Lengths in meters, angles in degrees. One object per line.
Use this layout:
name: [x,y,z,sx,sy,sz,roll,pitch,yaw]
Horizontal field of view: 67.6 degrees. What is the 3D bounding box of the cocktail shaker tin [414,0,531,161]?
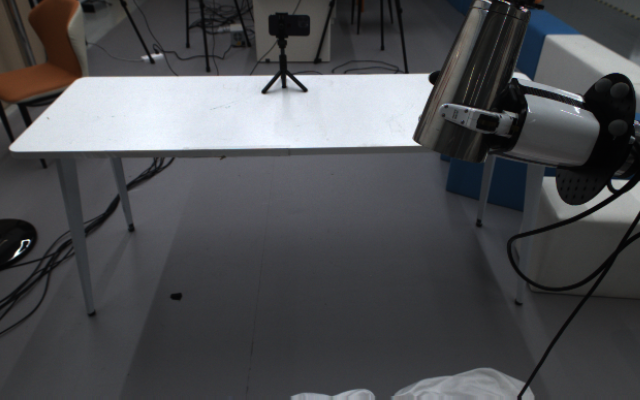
cocktail shaker tin: [0.181,-0.140,0.568,0.093,0.170,0.093,14,20,-5]
